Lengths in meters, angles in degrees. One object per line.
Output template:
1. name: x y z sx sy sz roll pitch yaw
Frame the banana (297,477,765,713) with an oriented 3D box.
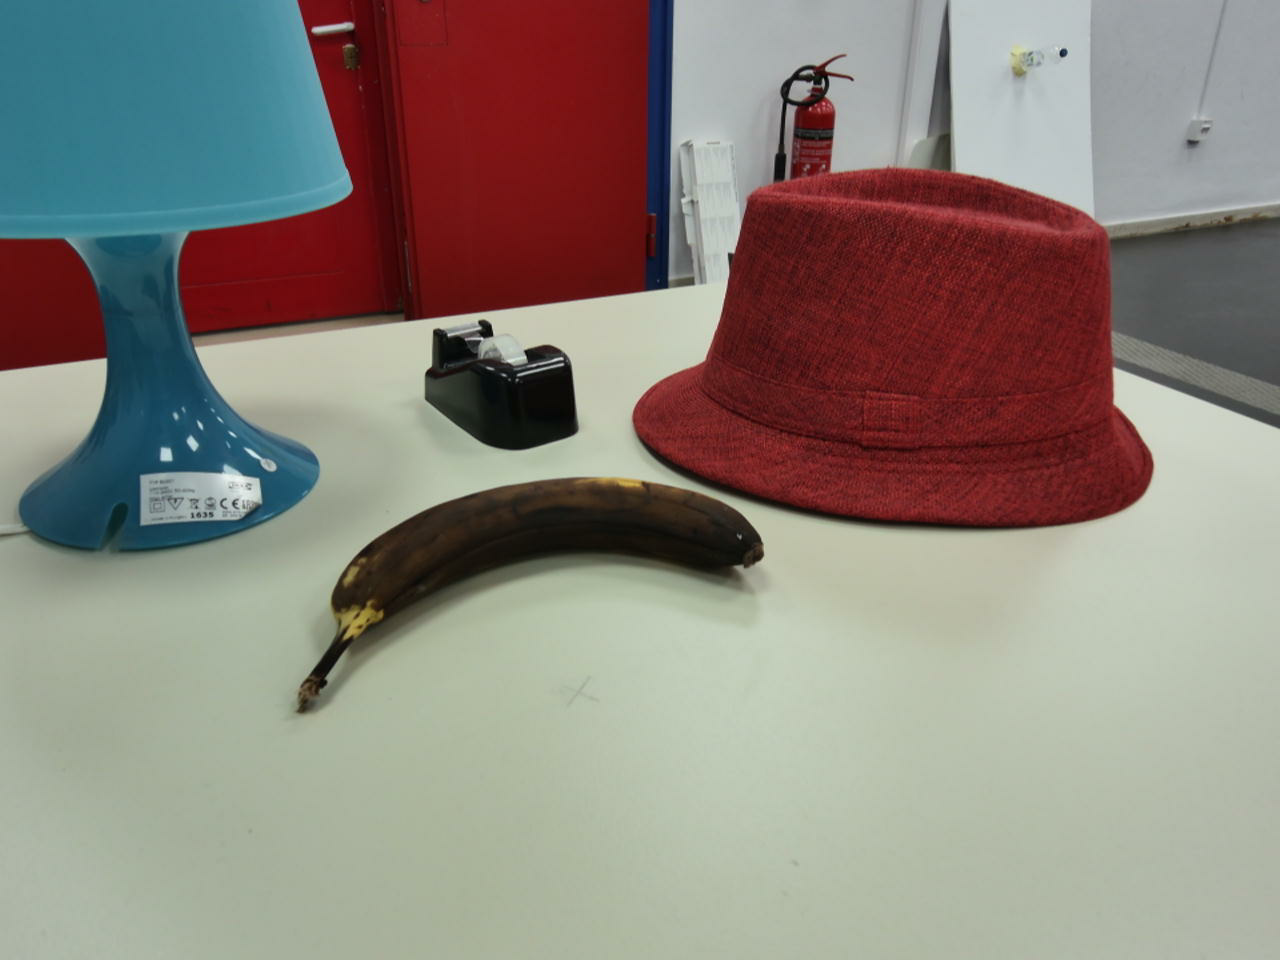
1. banana: -0.048 0.029 0.403 0.188 0.034 0.091 -11 26 -23
